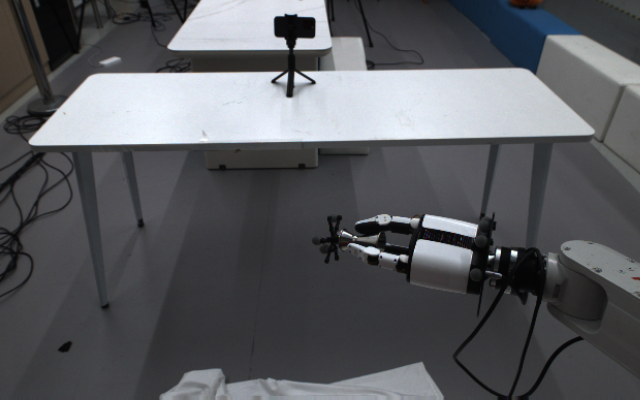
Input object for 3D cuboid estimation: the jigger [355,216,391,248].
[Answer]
[{"bbox_3d":[0.076,0.061,0.788,0.071,0.043,0.043,3,32,26],"label":"jigger"}]
